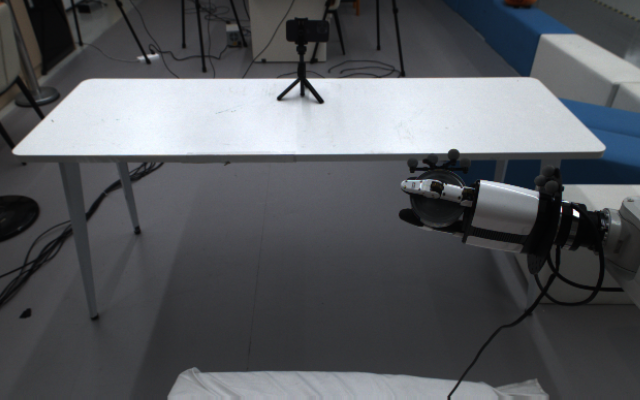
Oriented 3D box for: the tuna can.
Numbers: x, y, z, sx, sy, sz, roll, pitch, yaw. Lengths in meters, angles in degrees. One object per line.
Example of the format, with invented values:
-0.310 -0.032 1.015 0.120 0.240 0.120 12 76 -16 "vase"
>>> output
0.181 -0.004 0.739 0.085 0.034 0.085 -4 70 11 "tuna can"
